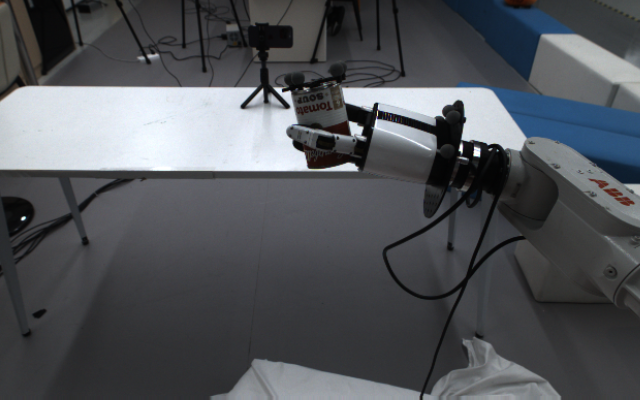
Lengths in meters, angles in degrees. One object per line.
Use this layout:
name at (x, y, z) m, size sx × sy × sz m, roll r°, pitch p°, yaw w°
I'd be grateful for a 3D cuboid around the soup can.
soup can at (0.006, -0.099, 0.639) m, size 0.067 × 0.101 × 0.067 m, roll -12°, pitch 17°, yaw 4°
